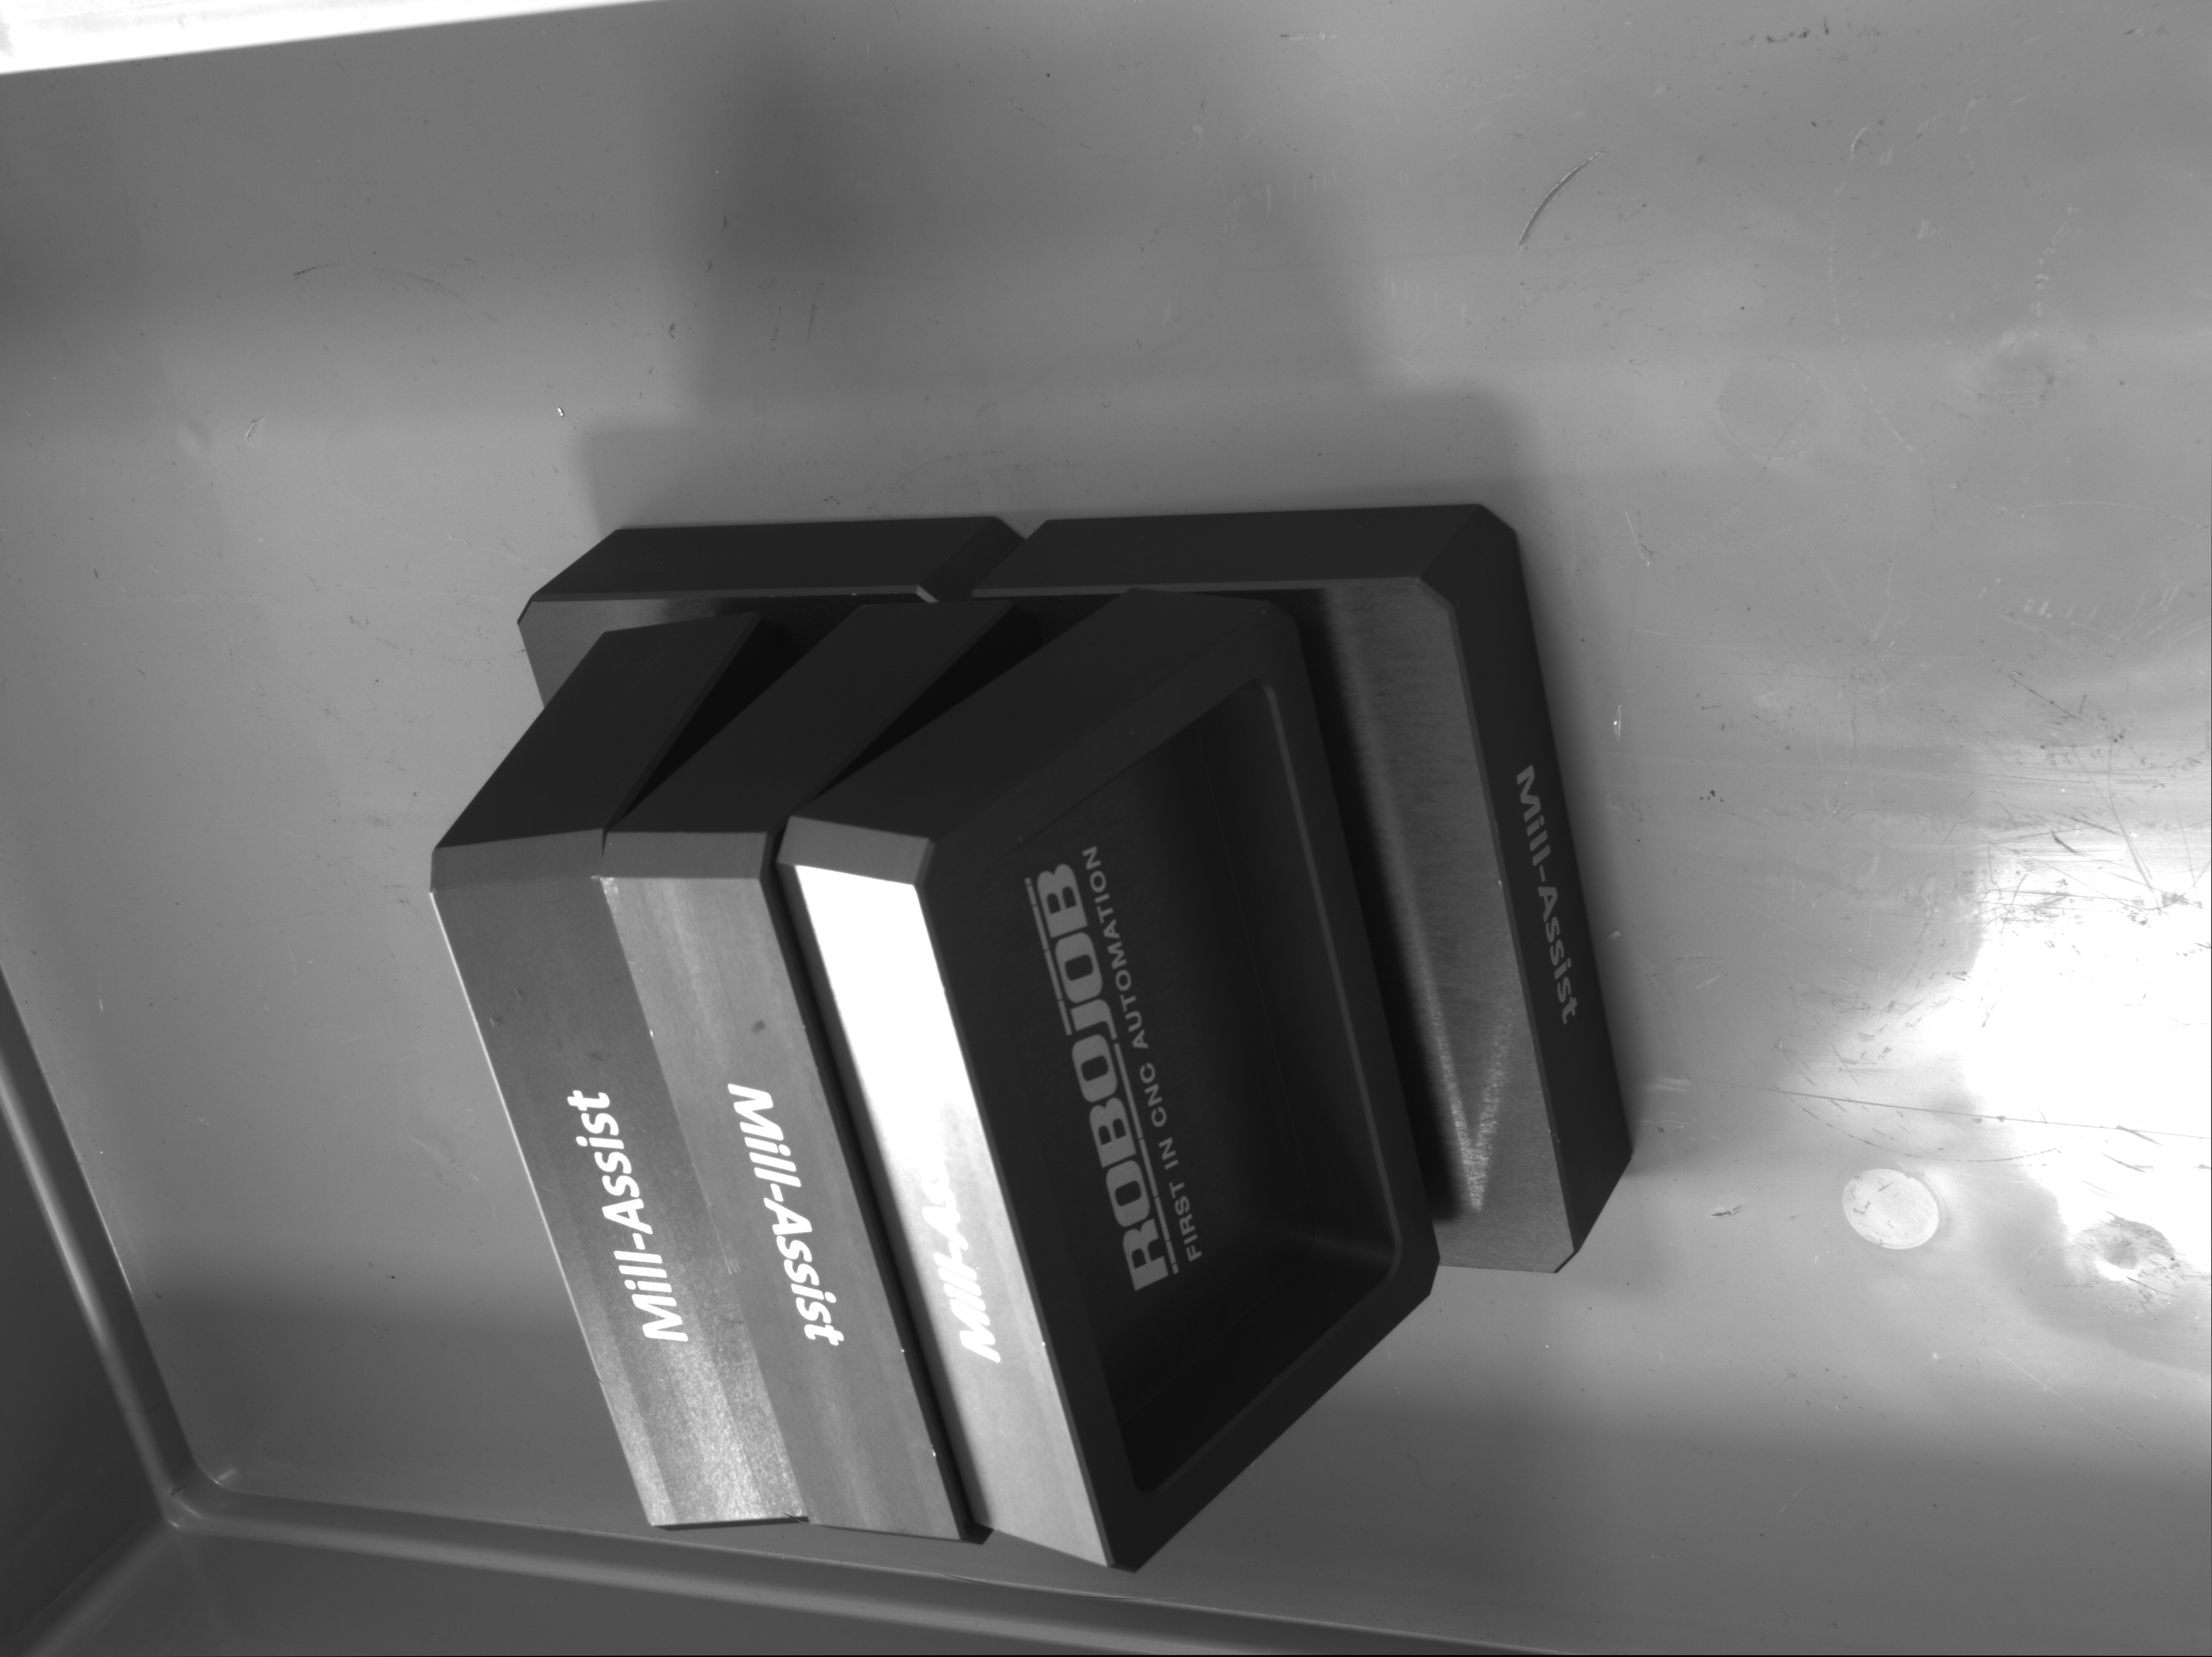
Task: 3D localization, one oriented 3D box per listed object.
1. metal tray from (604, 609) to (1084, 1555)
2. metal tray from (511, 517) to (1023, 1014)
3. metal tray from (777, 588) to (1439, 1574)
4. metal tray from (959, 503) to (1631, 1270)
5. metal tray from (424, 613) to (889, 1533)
[{"bbox_3d":[-0.030,0.040,0.599,0.030,0.090,0.130,0,116,29],"label":"metal tray"},{"bbox_3d":[-0.047,0.010,0.668,0.090,0.030,0.130,0,118,28],"label":"metal tray"},{"bbox_3d":[0.004,0.039,0.578,0.030,0.090,0.130,9,124,41],"label":"metal tray"},{"bbox_3d":[0.033,0.011,0.627,0.090,0.030,0.130,0,118,28],"label":"metal tray"},{"bbox_3d":[-0.067,0.041,0.617,0.030,0.090,0.130,-6,116,17],"label":"metal tray"}]
